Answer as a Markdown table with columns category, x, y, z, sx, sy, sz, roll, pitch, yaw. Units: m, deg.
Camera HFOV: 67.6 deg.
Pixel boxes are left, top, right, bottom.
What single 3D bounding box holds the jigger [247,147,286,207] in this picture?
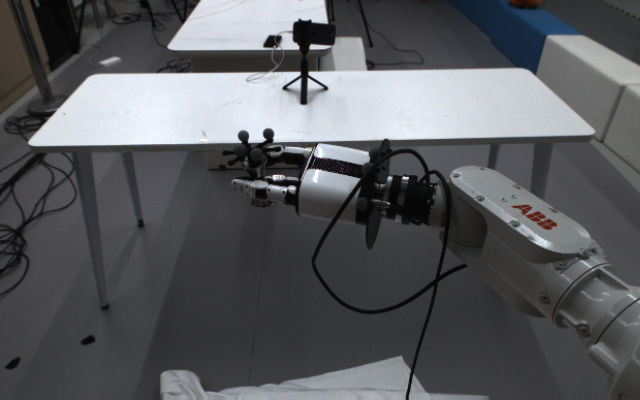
| category | x | y | z | sx | sy | sz | roll | pitch | yaw |
| --- | --- | --- | --- | --- | --- | --- | --- | --- | --- |
| jigger | -0.089 | -0.030 | 0.729 | 0.043 | 0.071 | 0.043 | -8 | 31 | 5 |
